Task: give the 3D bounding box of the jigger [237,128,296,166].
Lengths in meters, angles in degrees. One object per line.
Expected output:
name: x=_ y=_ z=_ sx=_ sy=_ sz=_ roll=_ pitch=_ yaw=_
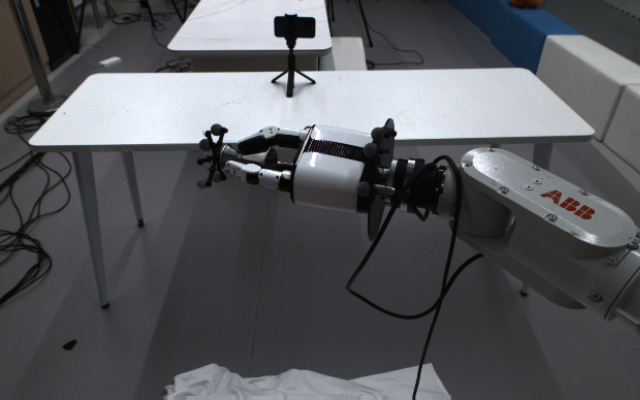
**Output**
jigger: x=-0.093 y=-0.057 z=0.667 sx=0.071 sy=0.043 sz=0.043 roll=8 pitch=35 yaw=17
